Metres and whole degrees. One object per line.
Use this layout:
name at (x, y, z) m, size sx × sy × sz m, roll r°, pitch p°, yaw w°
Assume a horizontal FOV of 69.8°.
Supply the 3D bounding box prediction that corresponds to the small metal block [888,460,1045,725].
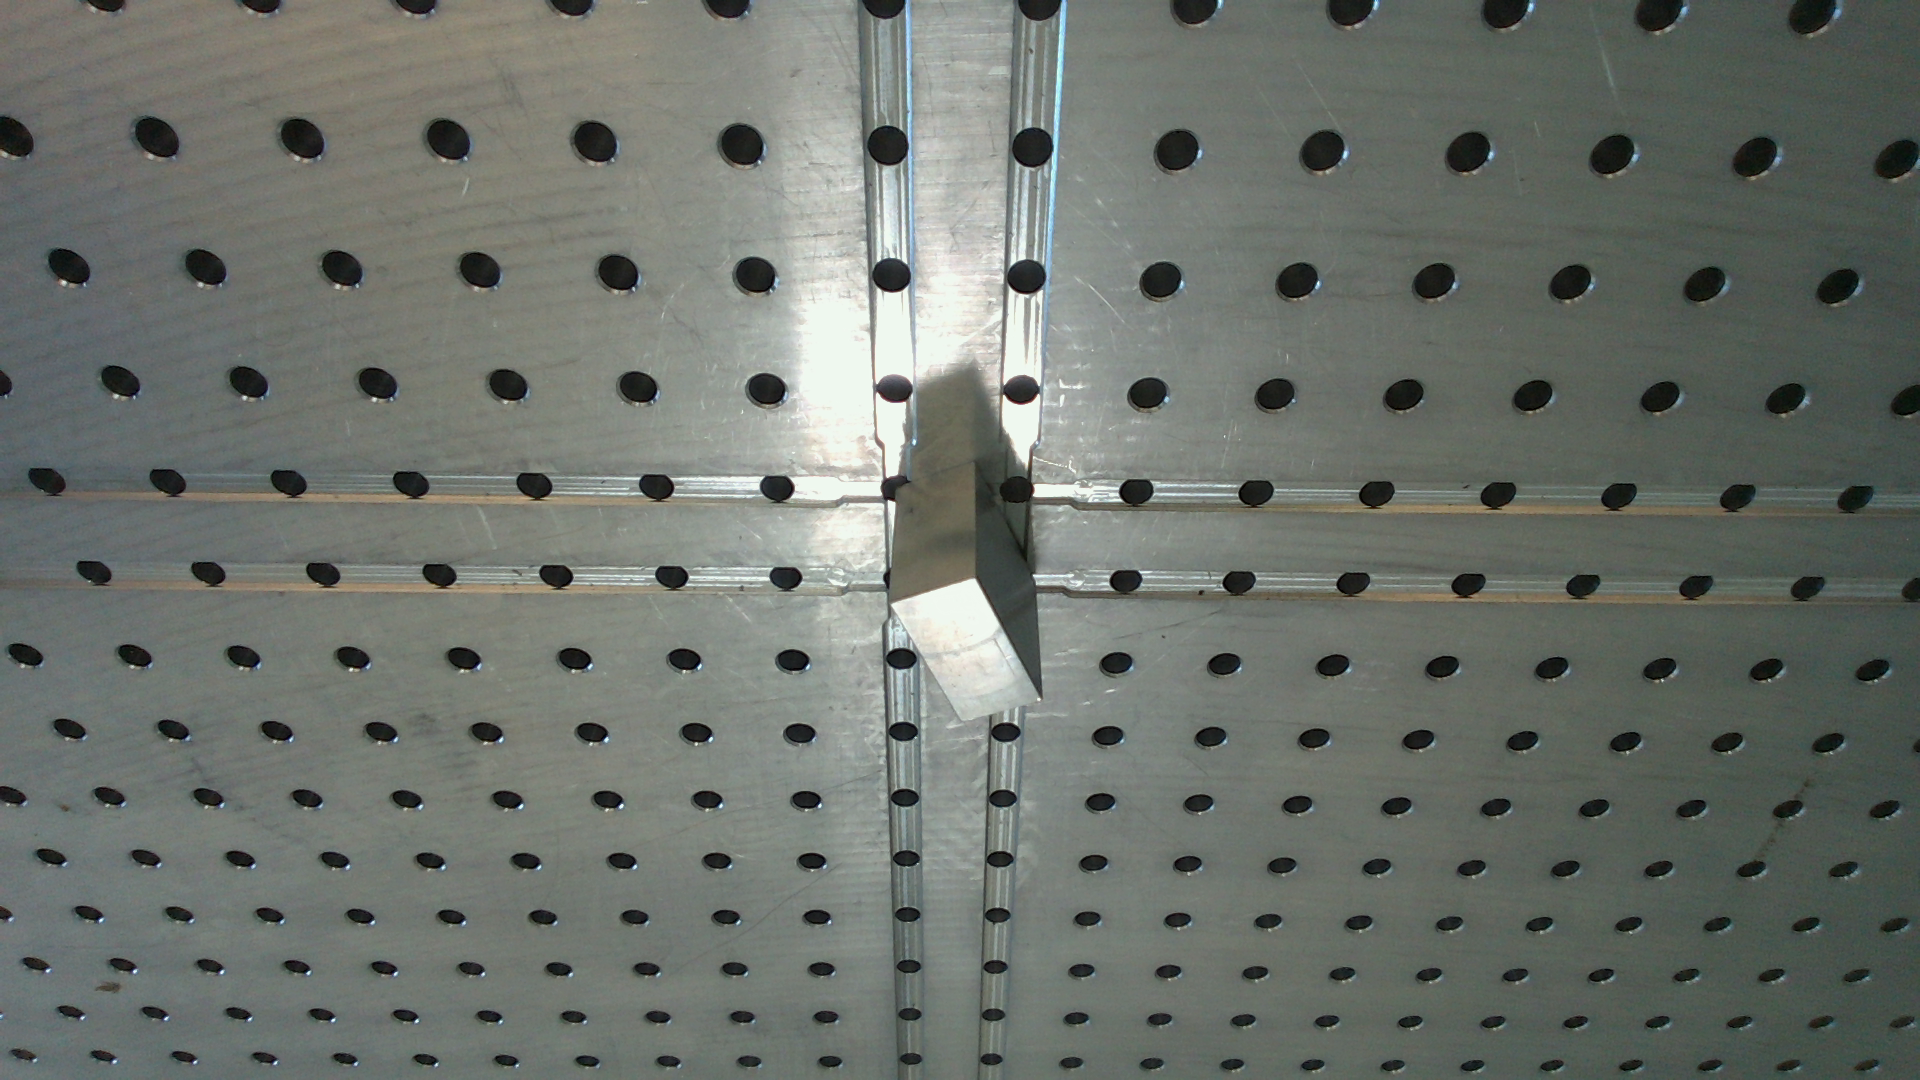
small metal block at (0.002, 0.015, 0.389) m, size 0.025 × 0.050 × 0.050 m, roll -18°, pitch 128°, yaw 14°
